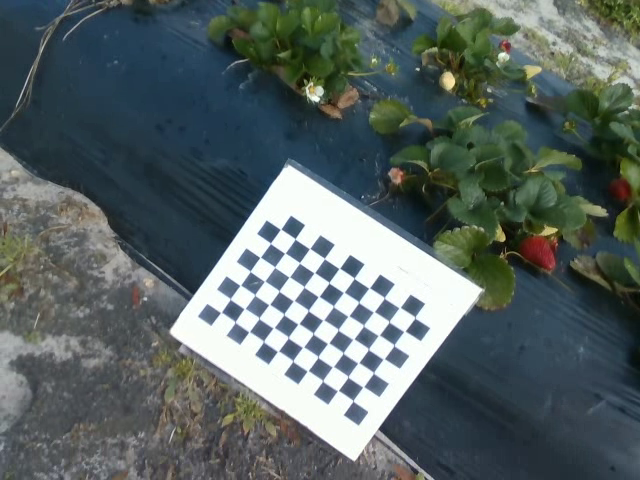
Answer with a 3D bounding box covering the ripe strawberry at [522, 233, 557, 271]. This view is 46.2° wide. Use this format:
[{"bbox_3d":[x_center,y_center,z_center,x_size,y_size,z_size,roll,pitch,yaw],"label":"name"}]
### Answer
[{"bbox_3d":[0.271,0.004,0.930,0.050,0.064,0.043,-23,-12,1],"label":"ripe strawberry"}]
